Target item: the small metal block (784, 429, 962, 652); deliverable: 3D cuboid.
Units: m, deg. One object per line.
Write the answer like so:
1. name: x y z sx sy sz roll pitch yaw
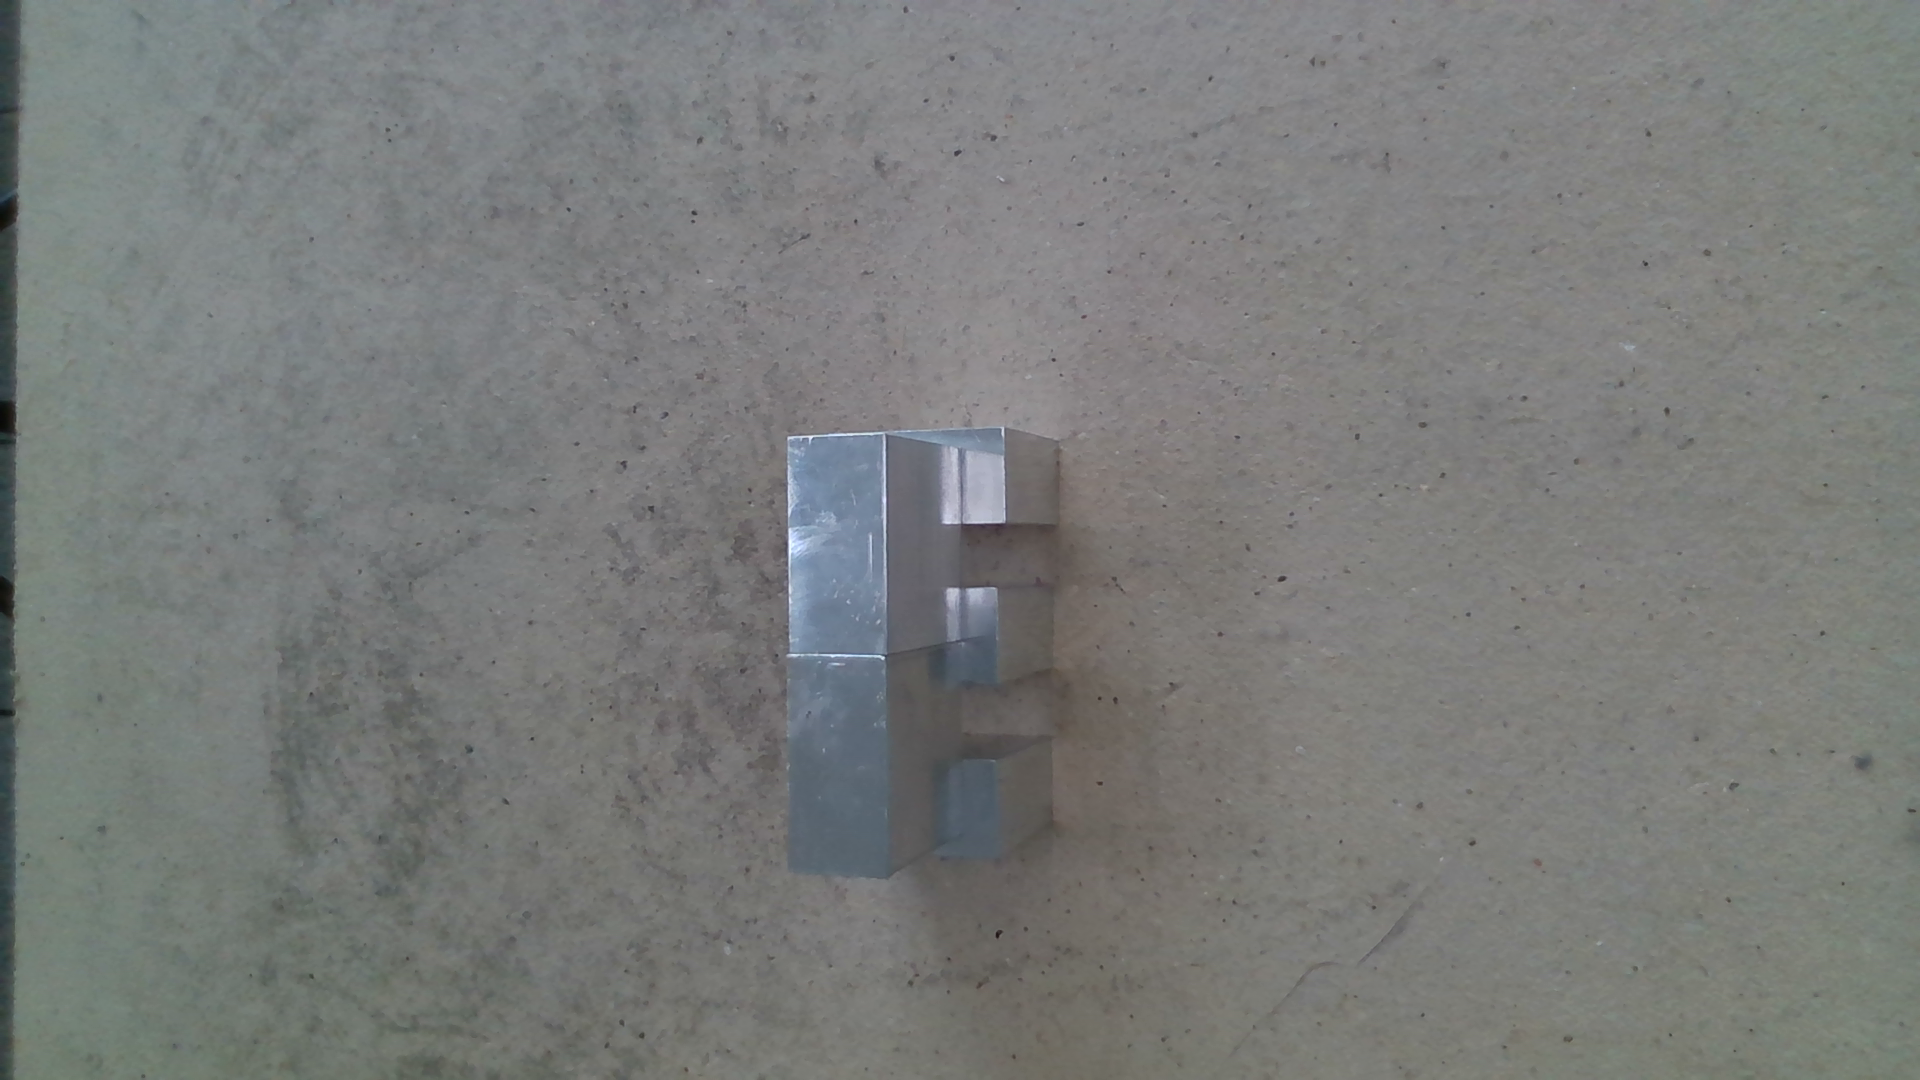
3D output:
1. small metal block: -0.020 0.000 0.335 0.025 0.050 0.050 0 90 20

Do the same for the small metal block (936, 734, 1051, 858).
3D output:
1. small metal block: -0.006 0.070 0.384 0.050 0.050 0.025 -2 89 20

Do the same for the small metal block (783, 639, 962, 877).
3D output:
1. small metal block: -0.020 0.050 0.335 0.025 0.050 0.050 0 90 20

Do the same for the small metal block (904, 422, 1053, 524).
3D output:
1. small metal block: -0.005 -0.017 0.382 0.050 0.050 0.025 -1 89 20

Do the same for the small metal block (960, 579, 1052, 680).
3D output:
1. small metal block: -0.006 0.024 0.383 0.050 0.050 0.025 -2 89 20
